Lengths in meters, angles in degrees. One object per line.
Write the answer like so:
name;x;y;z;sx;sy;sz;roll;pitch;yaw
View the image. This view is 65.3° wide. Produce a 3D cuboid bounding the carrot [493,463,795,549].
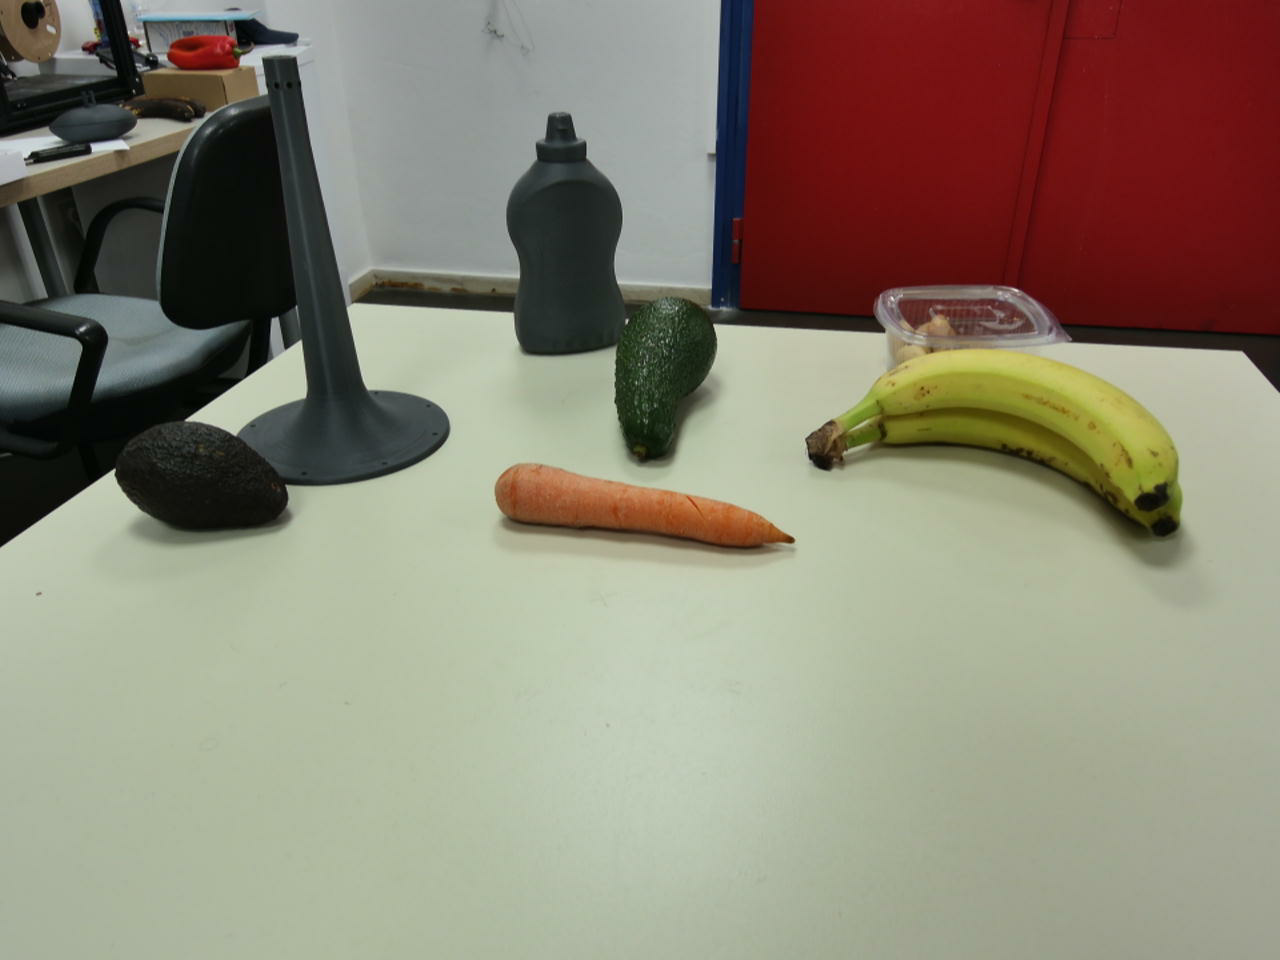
carrot;0.002;0.016;0.635;0.196;0.041;0.039;5;27;11
